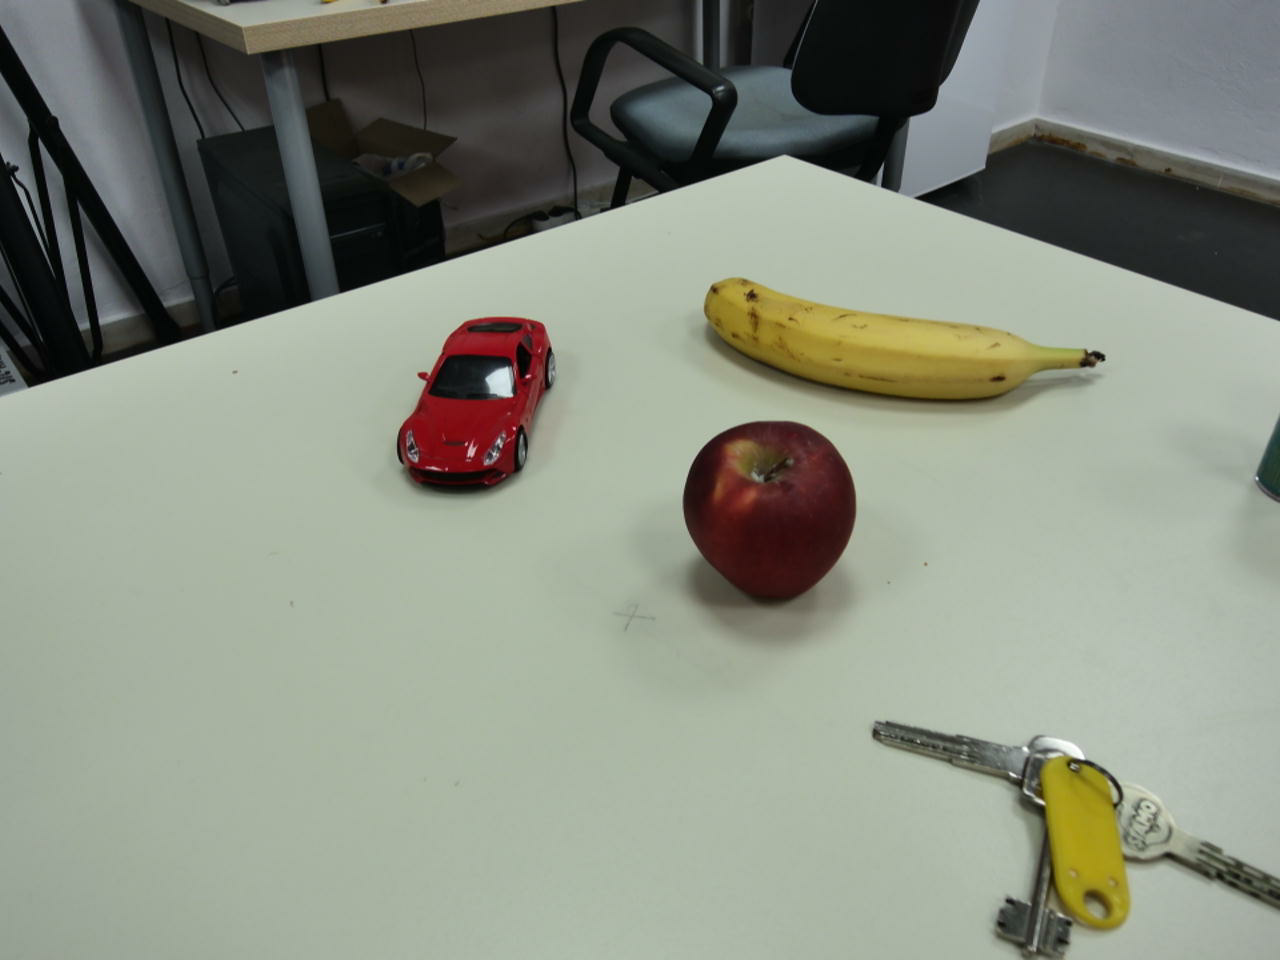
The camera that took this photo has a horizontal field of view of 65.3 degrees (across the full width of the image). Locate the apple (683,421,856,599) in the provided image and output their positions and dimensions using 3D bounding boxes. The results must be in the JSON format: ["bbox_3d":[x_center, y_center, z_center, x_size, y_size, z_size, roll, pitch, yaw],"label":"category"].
[{"bbox_3d":[0.052,0.011,0.402,0.070,0.072,0.070,0,35,0],"label":"apple"}]
